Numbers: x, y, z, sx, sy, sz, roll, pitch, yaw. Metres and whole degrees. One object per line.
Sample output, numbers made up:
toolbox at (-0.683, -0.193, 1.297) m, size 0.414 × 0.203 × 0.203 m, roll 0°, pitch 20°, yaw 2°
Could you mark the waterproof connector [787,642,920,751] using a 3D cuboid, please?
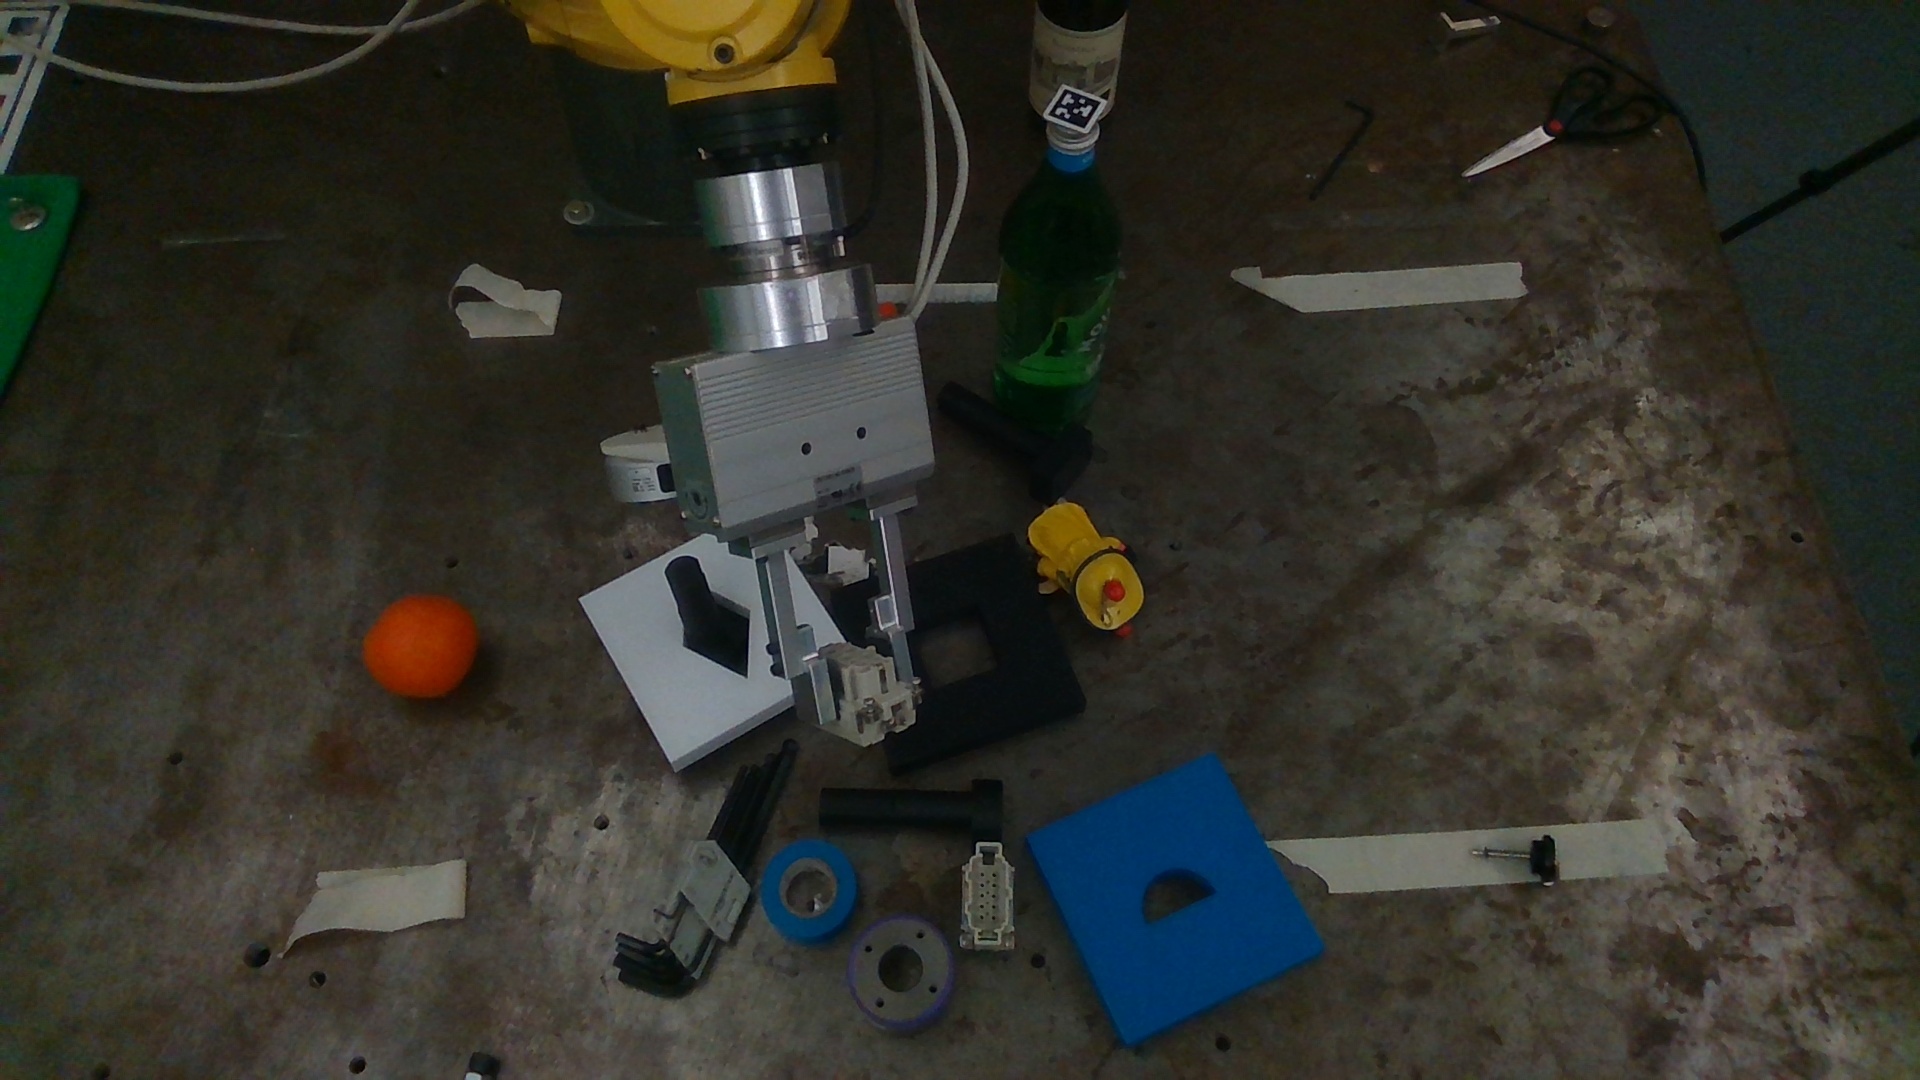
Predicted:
waterproof connector at (-0.051, 0.072, 0.665) m, size 0.036 × 0.038 × 0.069 m, roll -28°, pitch 24°, yaw -34°
